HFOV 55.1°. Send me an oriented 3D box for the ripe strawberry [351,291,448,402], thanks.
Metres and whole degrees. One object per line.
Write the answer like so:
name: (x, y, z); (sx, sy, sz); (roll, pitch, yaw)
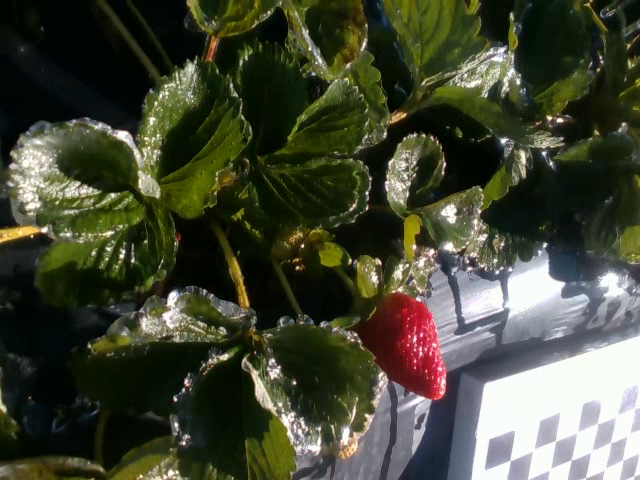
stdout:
ripe strawberry: (0.044, 0.058, 0.303); (0.042, 0.061, 0.046); (-21, -15, -26)
